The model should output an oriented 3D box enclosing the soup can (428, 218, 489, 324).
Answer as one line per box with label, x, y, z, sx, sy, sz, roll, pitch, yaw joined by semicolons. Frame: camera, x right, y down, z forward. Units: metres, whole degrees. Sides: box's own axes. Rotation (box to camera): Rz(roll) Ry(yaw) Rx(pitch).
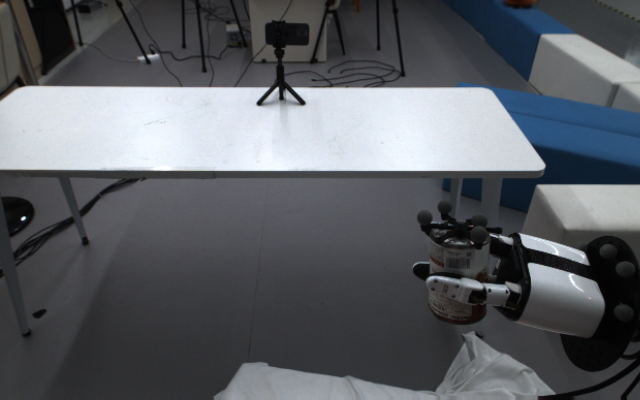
soup can;0.164;0.083;0.567;0.067;0.101;0.067;-4;21;1
